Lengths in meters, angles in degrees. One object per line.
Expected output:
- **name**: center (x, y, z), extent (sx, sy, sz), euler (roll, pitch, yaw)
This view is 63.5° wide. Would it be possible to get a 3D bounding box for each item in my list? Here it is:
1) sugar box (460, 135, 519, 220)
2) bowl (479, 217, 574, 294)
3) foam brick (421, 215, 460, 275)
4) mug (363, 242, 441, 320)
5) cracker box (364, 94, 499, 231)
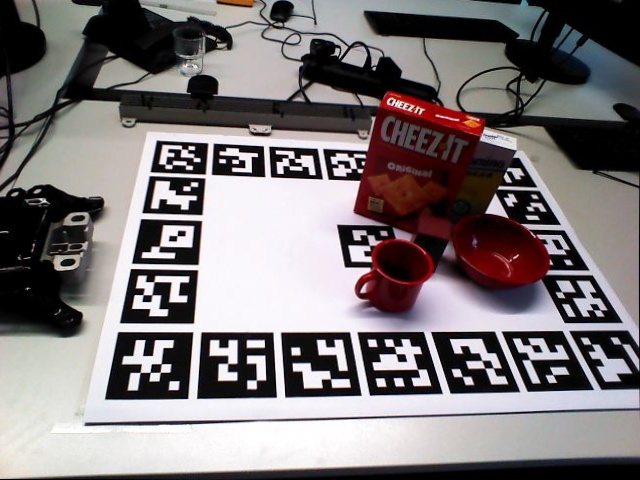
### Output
- **sugar box**: center (0.286, -0.105, 0.902), extent (0.093, 0.177, 0.045), euler (17, 44, 8)
- **bowl**: center (0.318, 0.034, 0.838), extent (0.162, 0.055, 0.160), euler (5, 45, -5)
- **foam brick**: center (0.194, 0.009, 0.846), extent (0.053, 0.078, 0.051), euler (13, 43, 4)
- **mug**: center (0.120, 0.064, 0.763), extent (0.117, 0.082, 0.093), euler (-5, 38, -13)
- **cracker box**: center (0.180, -0.113, 0.866), extent (0.165, 0.215, 0.071), euler (24, 43, 13)
